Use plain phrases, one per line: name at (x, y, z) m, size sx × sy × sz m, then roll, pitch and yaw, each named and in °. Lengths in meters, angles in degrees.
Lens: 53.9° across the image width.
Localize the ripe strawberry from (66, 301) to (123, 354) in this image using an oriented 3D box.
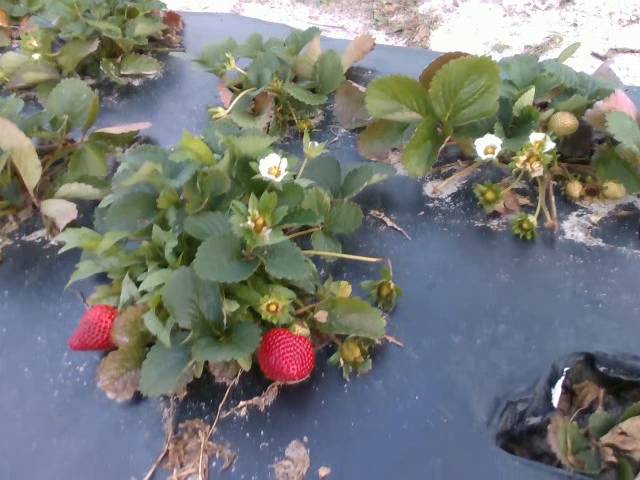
ripe strawberry at (-0.179, 0.076, 0.501) m, size 0.043 × 0.043 × 0.050 m, roll 31°, pitch 57°, yaw 31°

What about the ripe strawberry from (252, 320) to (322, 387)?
ripe strawberry at (-0.026, 0.087, 0.448) m, size 0.047 × 0.043 × 0.046 m, roll 46°, pitch 2°, yaw -29°
